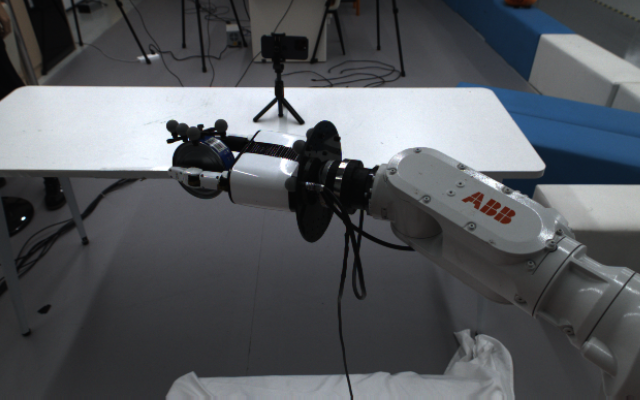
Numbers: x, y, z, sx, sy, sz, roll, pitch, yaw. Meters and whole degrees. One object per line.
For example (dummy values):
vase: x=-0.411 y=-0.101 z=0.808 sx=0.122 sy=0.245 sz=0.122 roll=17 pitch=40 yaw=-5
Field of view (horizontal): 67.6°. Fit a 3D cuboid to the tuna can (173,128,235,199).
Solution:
tuna can: x=-0.160 y=-0.046 z=0.677 sx=0.085 sy=0.085 sz=0.034 roll=15 pitch=28 yaw=17
